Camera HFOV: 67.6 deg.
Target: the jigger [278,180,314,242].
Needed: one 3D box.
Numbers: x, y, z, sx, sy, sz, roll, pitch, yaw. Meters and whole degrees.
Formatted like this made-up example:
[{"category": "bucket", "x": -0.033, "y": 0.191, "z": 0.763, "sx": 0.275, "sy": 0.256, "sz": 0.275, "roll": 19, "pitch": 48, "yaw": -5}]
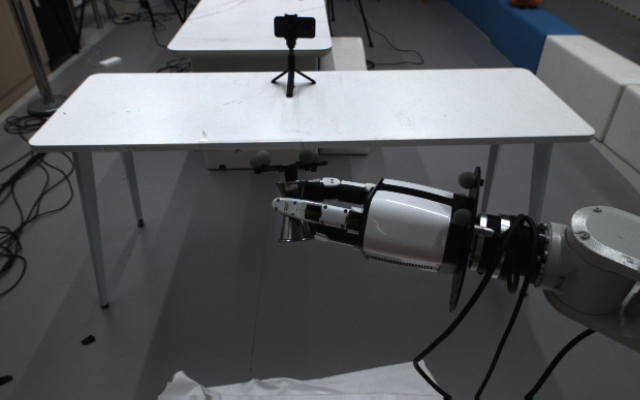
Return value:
[{"category": "jigger", "x": -0.030, "y": 0.013, "z": 0.562, "sx": 0.043, "sy": 0.071, "sz": 0.043, "roll": -4, "pitch": 1, "yaw": 0}]
